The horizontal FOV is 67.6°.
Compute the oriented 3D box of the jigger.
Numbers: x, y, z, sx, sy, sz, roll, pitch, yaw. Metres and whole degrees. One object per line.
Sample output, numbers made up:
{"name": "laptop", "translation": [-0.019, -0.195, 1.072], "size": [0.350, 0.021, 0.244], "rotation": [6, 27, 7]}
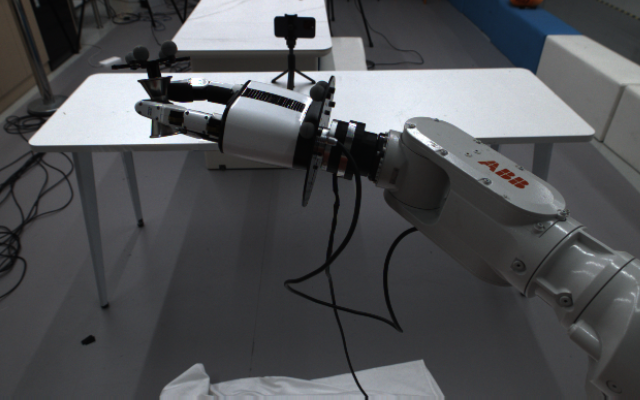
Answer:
{"name": "jigger", "translation": [-0.190, -0.112, 0.586], "size": [0.043, 0.071, 0.043], "rotation": [-8, 15, 2]}
